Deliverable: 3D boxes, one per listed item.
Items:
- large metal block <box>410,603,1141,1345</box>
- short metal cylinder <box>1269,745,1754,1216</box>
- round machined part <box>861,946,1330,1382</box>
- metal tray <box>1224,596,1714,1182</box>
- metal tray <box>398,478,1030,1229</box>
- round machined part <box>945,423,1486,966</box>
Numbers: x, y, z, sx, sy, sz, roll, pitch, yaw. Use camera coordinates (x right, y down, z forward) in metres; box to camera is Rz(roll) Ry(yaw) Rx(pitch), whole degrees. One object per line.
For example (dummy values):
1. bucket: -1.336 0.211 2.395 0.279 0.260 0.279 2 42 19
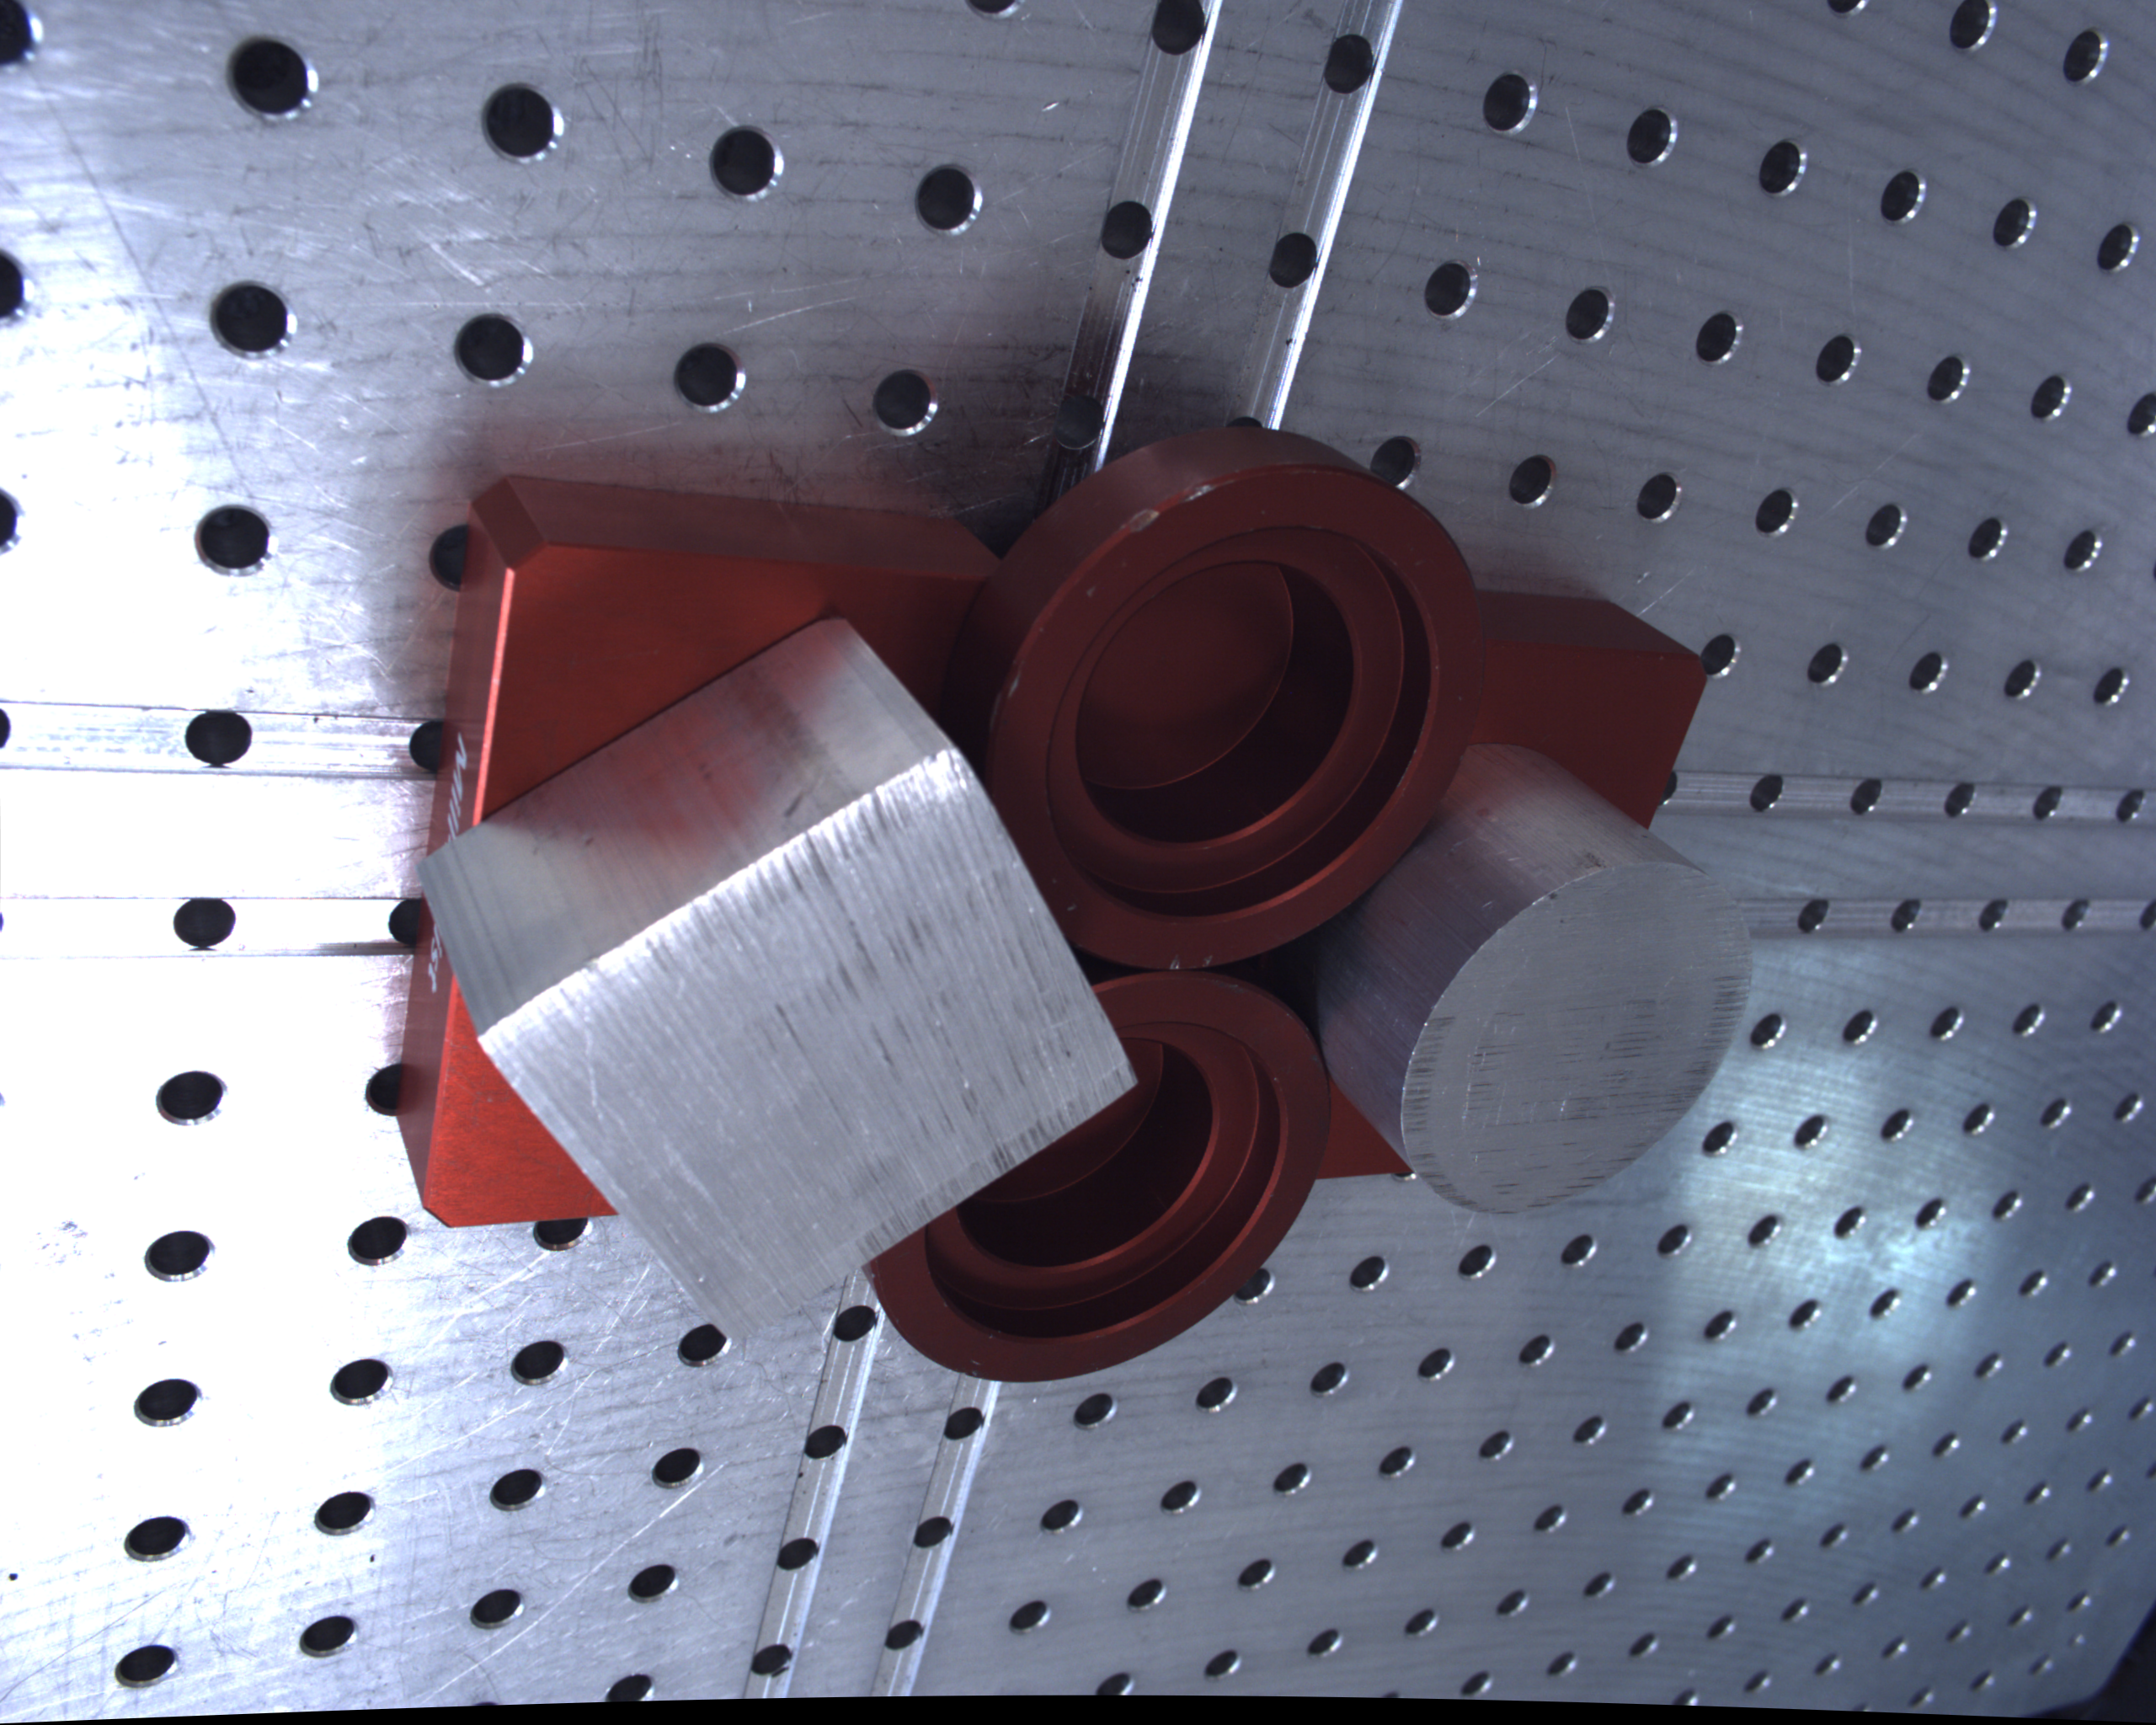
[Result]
1. large metal block: -0.048 0.018 0.341 0.080 0.050 0.080 -32 129 -7
2. short metal cylinder: 0.086 0.023 0.416 0.081 0.050 0.079 -14 124 -21
3. round machined part: -0.002 0.053 0.420 0.099 0.042 0.097 -14 124 -21
4. metal tray: 0.073 0.008 0.450 0.091 0.030 0.129 1 118 -29
5. metal tray: -0.066 0.001 0.372 0.091 0.030 0.129 0 119 -30
6. round machined part: 0.021 -0.033 0.379 0.099 0.042 0.097 -14 124 -21
